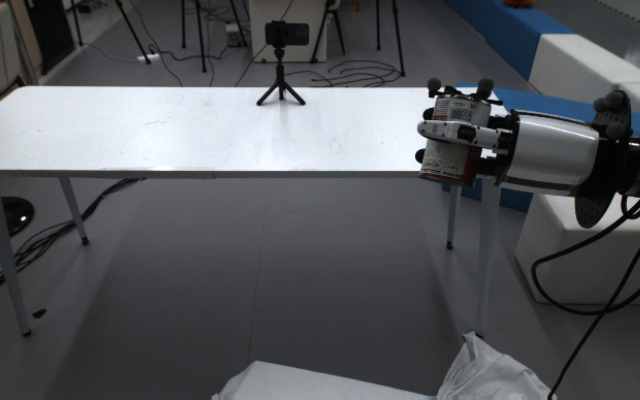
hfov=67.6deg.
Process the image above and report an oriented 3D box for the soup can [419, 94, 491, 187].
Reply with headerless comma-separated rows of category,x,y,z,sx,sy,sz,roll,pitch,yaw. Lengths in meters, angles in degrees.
soup can,0.166,-0.071,0.592,0.067,0.101,0.067,11,2,0
